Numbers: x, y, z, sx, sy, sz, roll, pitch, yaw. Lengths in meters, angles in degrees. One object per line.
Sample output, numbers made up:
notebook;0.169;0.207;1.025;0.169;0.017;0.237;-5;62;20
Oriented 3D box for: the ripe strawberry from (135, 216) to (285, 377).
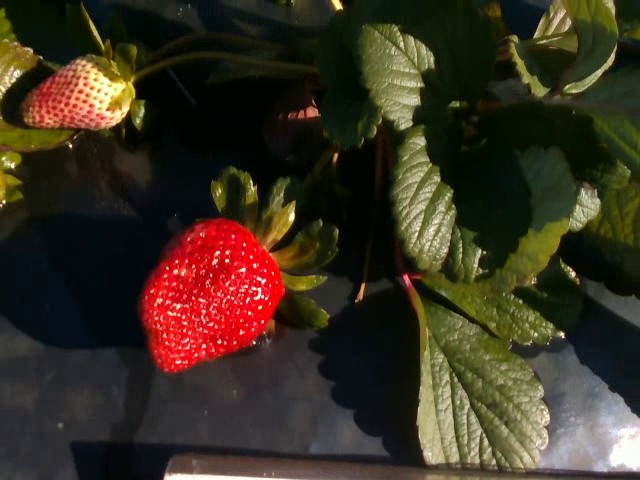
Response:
ripe strawberry;-0.040;0.019;0.170;0.058;0.066;0.062;-38;7;25
